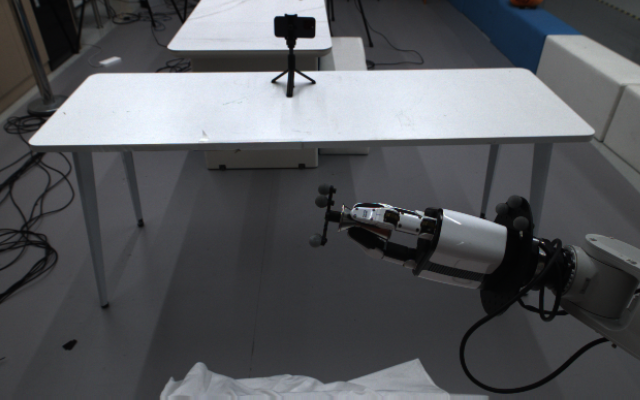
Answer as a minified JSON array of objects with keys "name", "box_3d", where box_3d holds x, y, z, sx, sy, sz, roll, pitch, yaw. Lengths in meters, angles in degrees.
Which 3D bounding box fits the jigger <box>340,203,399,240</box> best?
[{"name":"jigger","box_3d":[0.067,0.026,0.642,0.071,0.043,0.043,9,35,2]}]
